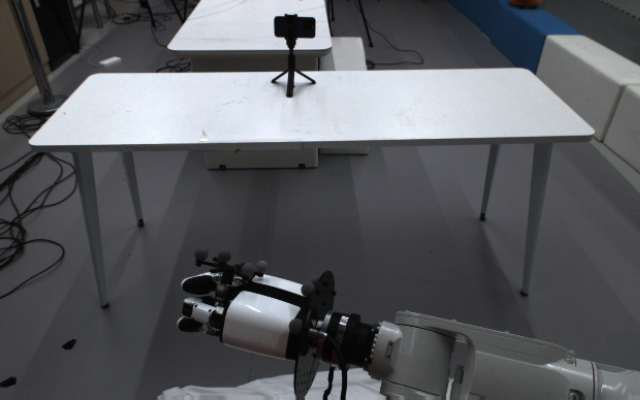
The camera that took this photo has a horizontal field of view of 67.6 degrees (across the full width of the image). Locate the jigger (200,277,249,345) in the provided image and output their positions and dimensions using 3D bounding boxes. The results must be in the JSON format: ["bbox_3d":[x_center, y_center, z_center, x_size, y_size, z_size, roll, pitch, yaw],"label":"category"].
[{"bbox_3d":[-0.126,0.139,0.638,0.043,0.071,0.043,14,1,0],"label":"jigger"}]
